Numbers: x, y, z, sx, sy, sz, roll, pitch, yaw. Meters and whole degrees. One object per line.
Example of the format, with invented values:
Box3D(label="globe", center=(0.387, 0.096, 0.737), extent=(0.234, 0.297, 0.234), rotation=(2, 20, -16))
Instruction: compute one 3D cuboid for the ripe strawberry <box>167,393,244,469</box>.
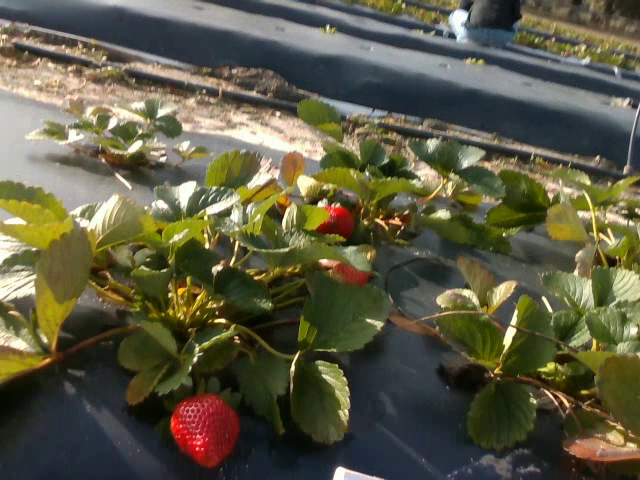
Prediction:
Box3D(label="ripe strawberry", center=(-0.053, 0.091, 0.275), extent=(0.041, 0.041, 0.047), rotation=(-14, 14, -4))
